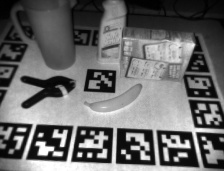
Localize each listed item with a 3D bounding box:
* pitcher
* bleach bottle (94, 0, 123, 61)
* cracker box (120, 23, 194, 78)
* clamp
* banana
[{"bbox_3d":[-0.204,-0.191,0.689,0.190,0.243,0.132,-10,50,-13],"label":"pitcher"},{"bbox_3d":[-0.015,-0.197,0.730,0.102,0.252,0.067,3,49,1],"label":"bleach bottle"},{"bbox_3d":[0.133,-0.112,0.703,0.213,0.165,0.072,4,47,3],"label":"cracker box"},{"bbox_3d":[-0.205,-0.009,0.700,0.166,0.037,0.121,-8,50,-12],"label":"clamp"},{"bbox_3d":[0.013,0.028,0.691,0.199,0.039,0.073,-24,55,-21],"label":"banana"}]
